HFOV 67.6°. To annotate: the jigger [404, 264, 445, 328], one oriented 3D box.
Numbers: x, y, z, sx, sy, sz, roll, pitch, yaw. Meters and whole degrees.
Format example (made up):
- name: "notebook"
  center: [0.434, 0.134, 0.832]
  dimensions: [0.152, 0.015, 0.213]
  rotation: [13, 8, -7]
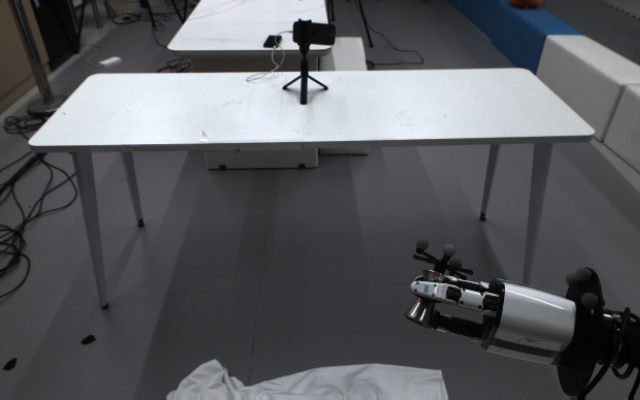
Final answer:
- name: "jigger"
  center: [0.142, 0.129, 0.640]
  dimensions: [0.043, 0.043, 0.071]
  rotation: [20, 73, 24]
